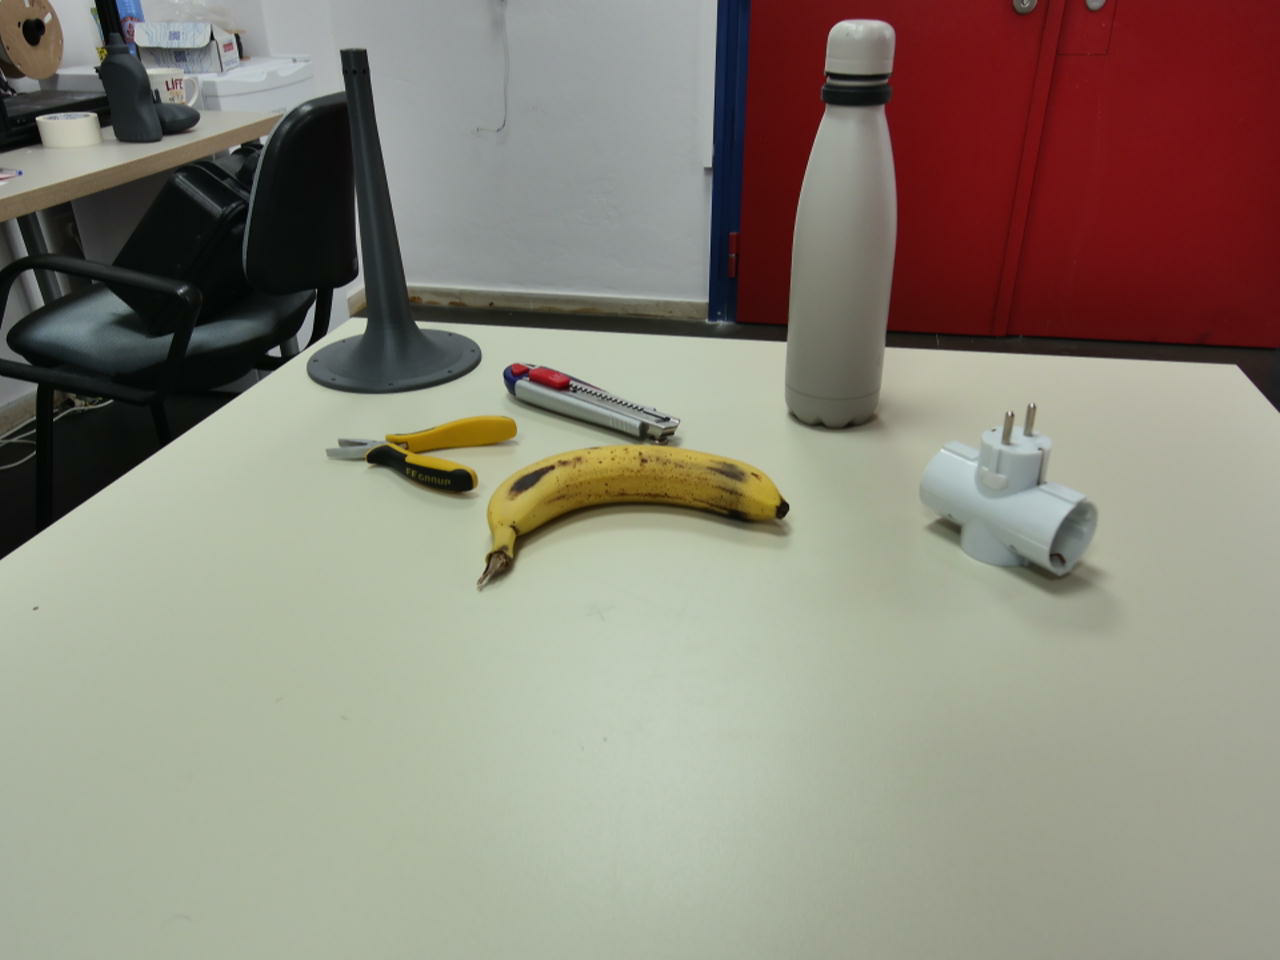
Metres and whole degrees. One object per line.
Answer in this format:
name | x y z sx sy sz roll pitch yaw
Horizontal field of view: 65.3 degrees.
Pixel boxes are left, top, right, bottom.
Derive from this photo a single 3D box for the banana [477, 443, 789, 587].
banana | -0.009 0.010 0.621 0.186 0.038 0.097 -7 27 -14
